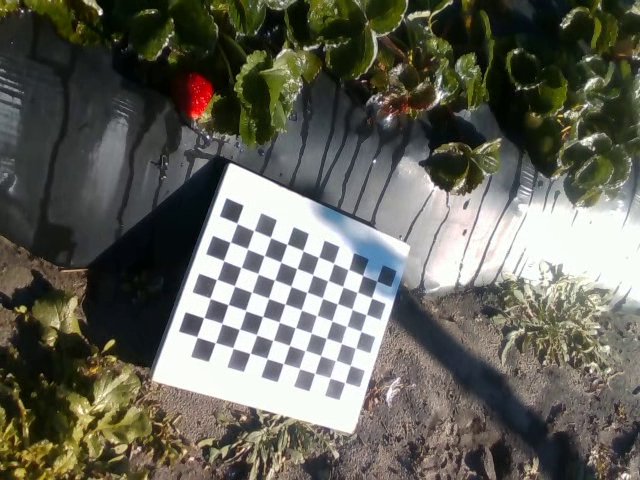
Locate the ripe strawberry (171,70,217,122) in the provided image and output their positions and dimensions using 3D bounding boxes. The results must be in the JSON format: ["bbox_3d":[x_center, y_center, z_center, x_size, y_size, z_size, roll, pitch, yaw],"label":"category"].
[{"bbox_3d":[-0.116,-0.131,0.549,0.041,0.053,0.047,16,-44,-26],"label":"ripe strawberry"}]
